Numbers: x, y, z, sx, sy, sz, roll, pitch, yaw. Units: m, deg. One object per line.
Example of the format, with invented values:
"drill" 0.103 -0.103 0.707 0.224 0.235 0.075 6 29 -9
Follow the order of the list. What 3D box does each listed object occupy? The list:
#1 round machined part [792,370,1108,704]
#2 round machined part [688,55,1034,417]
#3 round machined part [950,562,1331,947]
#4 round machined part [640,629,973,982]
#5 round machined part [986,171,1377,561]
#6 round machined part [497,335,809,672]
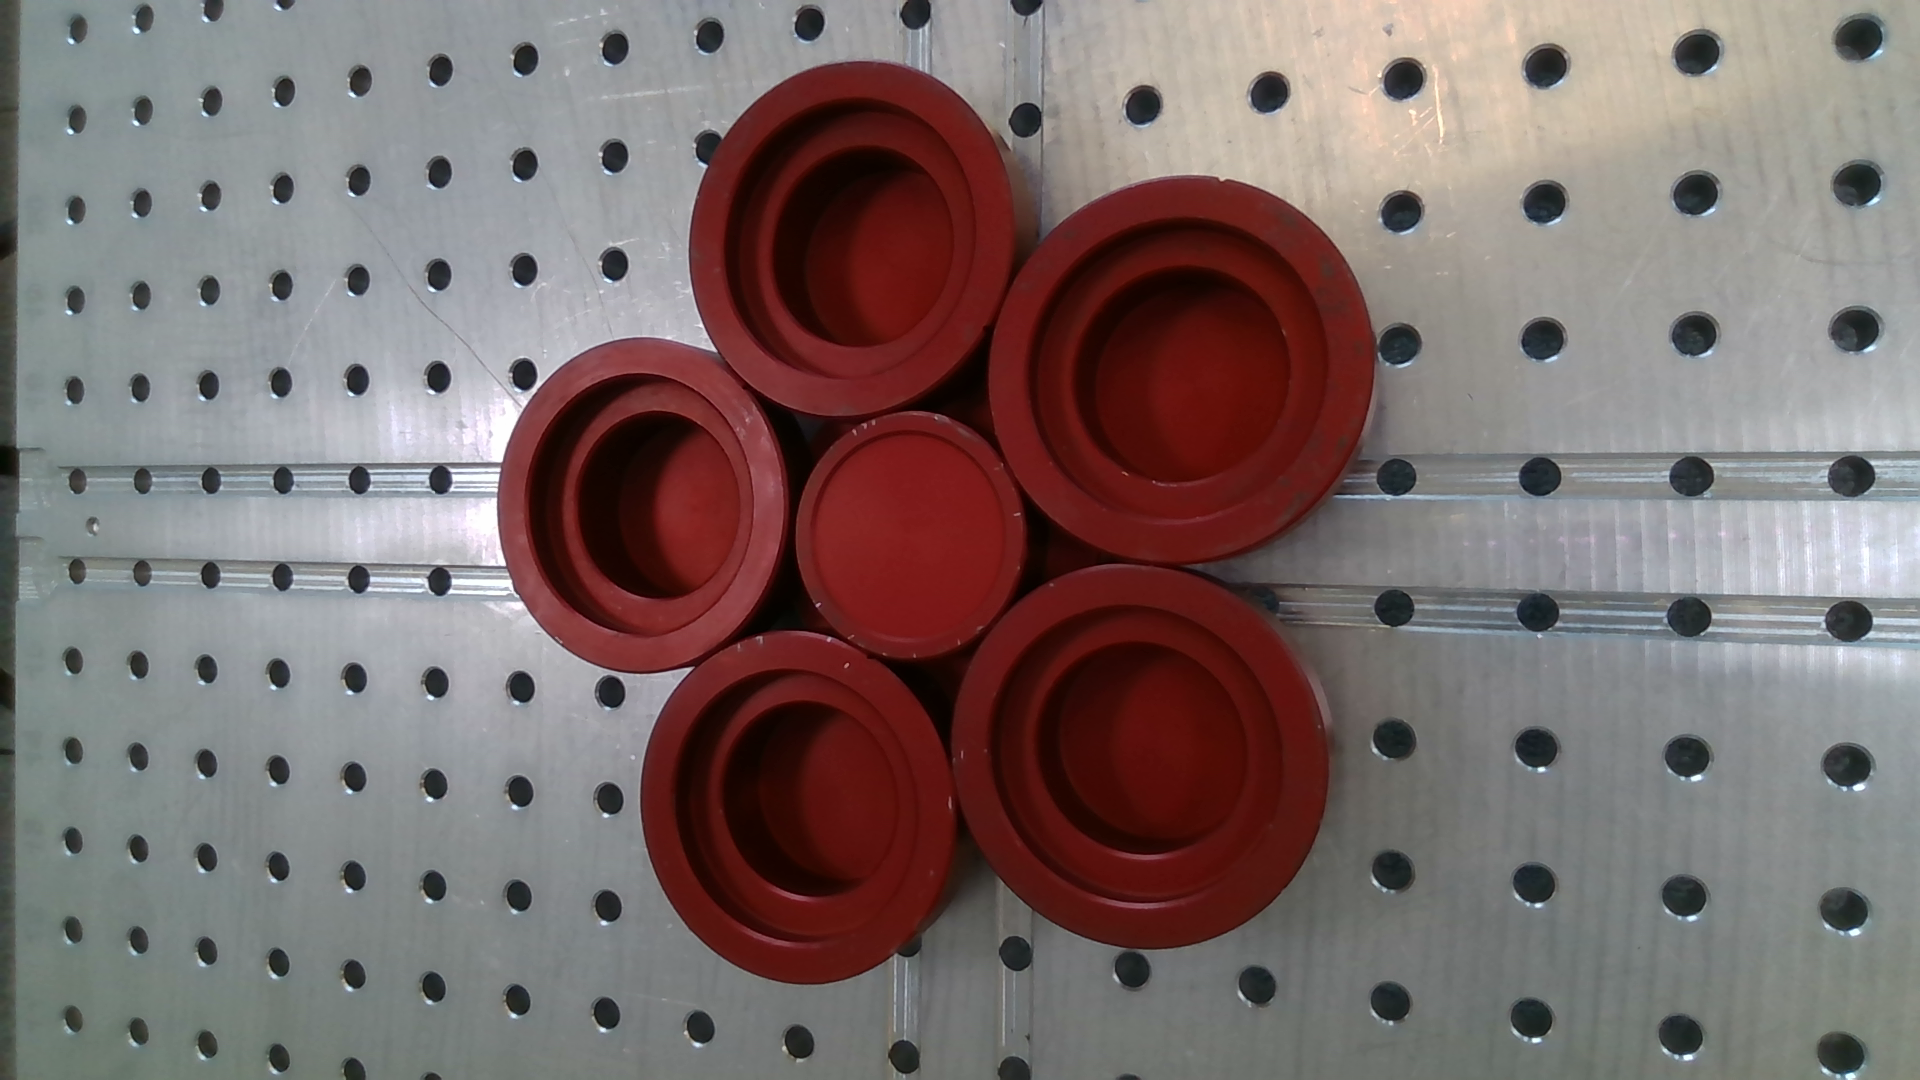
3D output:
"round machined part" -0.008 -0.002 0.390 0.098 0.042 0.098 0 90 20
"round machined part" -0.025 -0.083 0.395 0.098 0.042 0.098 0 90 20
"round machined part" 0.050 0.055 0.369 0.098 0.042 0.098 0 90 20
"round machined part" -0.040 0.074 0.402 0.098 0.042 0.098 0 90 20
"round machined part" 0.060 -0.044 0.365 0.098 0.042 0.098 0 90 20
"round machined part" -0.087 -0.011 0.419 0.098 0.042 0.098 0 90 20
